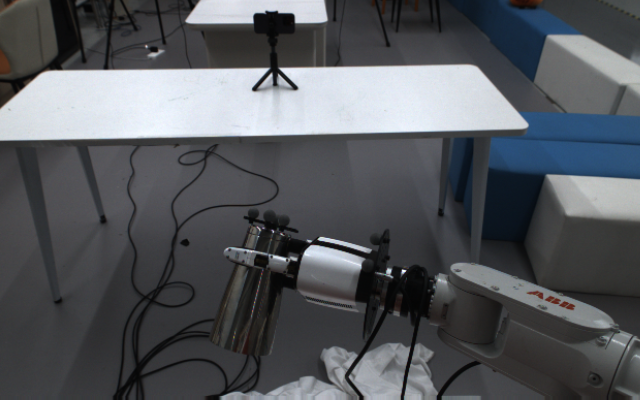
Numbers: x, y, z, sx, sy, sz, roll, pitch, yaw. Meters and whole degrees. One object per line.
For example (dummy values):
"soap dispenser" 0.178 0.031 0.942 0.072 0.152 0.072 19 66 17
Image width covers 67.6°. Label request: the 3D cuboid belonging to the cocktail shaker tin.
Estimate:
"cocktail shaker tin" -0.093 0.125 0.704 0.093 0.170 0.093 15 -5 1
